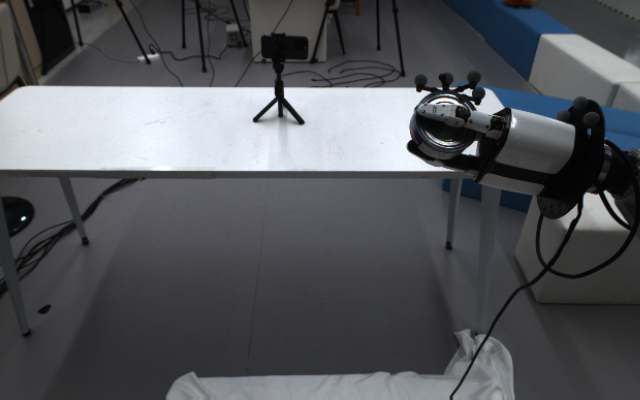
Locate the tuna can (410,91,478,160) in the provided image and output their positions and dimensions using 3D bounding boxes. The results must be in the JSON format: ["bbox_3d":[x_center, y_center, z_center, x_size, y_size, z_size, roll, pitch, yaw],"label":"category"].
[{"bbox_3d":[0.163,-0.102,0.636,0.085,0.034,0.085,1,73,-4],"label":"tuna can"}]
